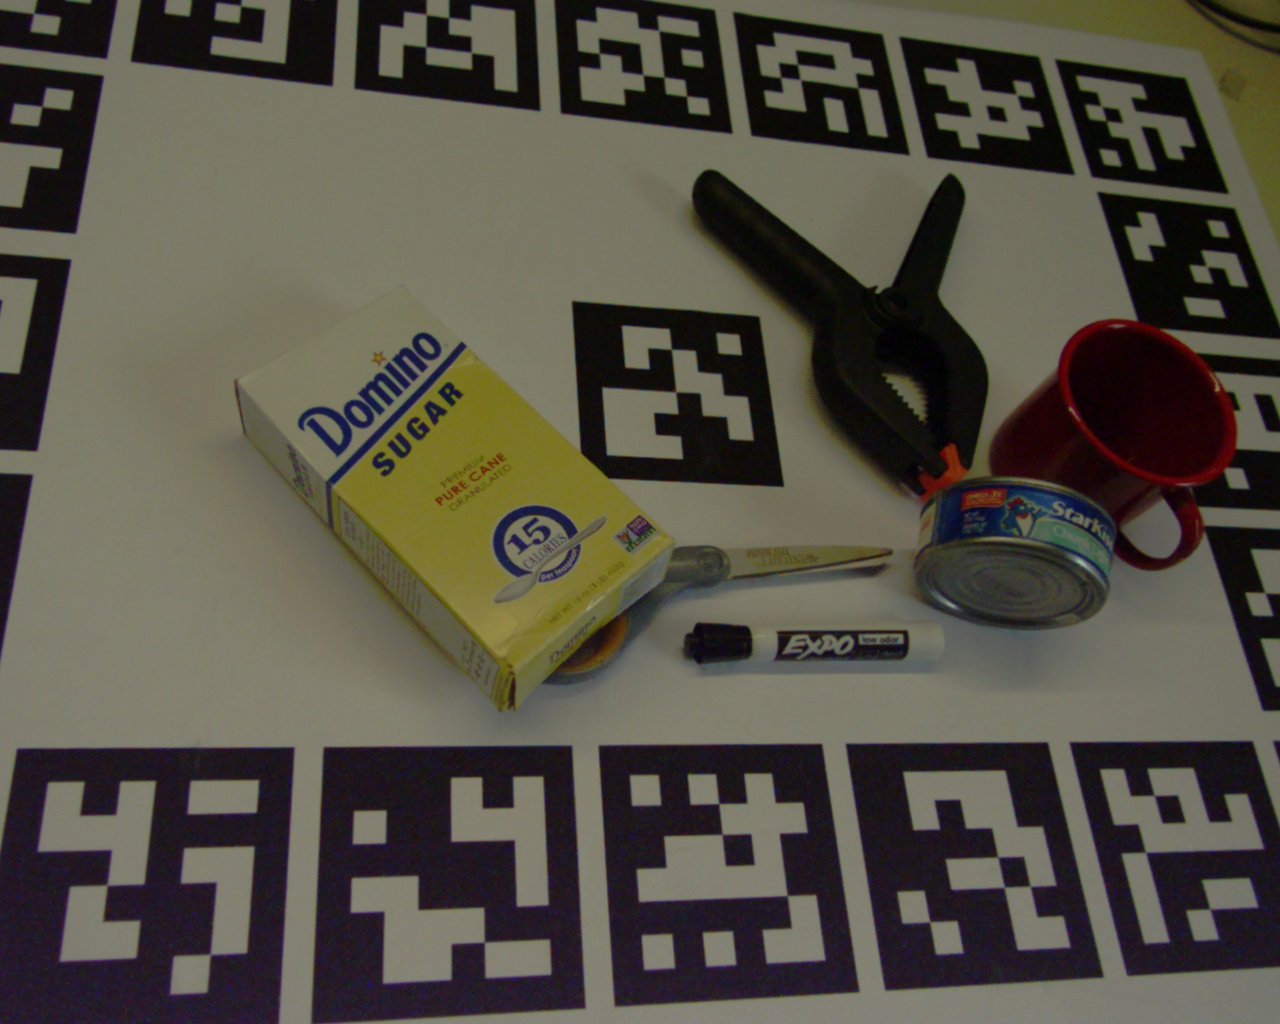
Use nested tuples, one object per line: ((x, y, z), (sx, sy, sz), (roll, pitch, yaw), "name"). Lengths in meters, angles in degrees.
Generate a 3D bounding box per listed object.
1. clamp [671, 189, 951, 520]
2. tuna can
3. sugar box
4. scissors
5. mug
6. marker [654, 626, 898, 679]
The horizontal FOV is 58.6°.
((0.118, -0.093, 0.642), (0.164, 0.037, 0.204), (-8, 69, -18), "clamp")
((0.169, 0.025, 0.559), (0.085, 0.086, 0.034), (17, 62, -7), "tuna can")
((-0.082, -0.002, 0.524), (0.092, 0.045, 0.177), (-36, 72, -26), "sugar box")
((0.019, 0.028, 0.554), (0.201, 0.016, 0.088), (-8, 64, -20), "scissors")
((0.221, -0.020, 0.599), (0.092, 0.081, 0.118), (-26, 71, -24), "mug")
((0.066, 0.068, 0.550), (0.120, 0.020, 0.020), (-2, 67, -15), "marker")
